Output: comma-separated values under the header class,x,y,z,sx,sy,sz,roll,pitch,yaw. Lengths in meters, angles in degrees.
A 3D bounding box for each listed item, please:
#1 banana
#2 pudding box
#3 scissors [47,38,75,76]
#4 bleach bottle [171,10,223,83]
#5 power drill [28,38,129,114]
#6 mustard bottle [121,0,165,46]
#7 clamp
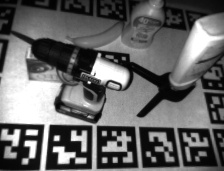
class,x,y,z,sx,sy,sz,roll,pitch,yaw
banana,-0.024,-0.184,0.649,0.198,0.039,0.073,-36,63,-25
pudding box,-0.148,-0.063,0.539,0.114,0.090,0.038,8,58,-12
scissors,-0.142,-0.096,0.483,0.203,0.016,0.088,29,67,-7
bleach bottle,0.214,-0.074,0.539,0.103,0.251,0.067,-17,67,-13
power drill,-0.072,-0.013,0.451,0.185,0.187,0.057,15,57,-5
mustard bottle,0.095,-0.190,0.611,0.096,0.191,0.058,17,63,-7
clamp,0.158,-0.020,0.617,0.204,0.036,0.164,-2,69,-18
